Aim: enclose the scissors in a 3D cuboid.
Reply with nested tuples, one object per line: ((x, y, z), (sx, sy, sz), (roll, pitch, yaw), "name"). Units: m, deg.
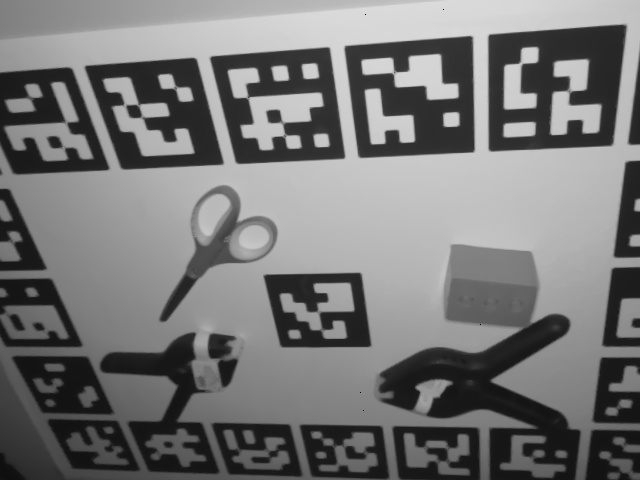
((-0.110, 0.035, 0.700), (0.088, 0.016, 0.200), (35, 122, -4), "scissors")

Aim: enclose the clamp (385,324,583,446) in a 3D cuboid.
((0.169, 0.159, 0.728), (0.201, 0.037, 0.164), (-6, 123, 13), "clamp")

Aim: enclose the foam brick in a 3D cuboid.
((0.166, 0.046, 0.652), (0.078, 0.052, 0.052), (2, 120, 2), "foam brick")

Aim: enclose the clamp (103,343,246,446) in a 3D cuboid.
((-0.152, 0.162, 0.781), (0.163, 0.037, 0.122), (-29, 106, 22), "clamp")
